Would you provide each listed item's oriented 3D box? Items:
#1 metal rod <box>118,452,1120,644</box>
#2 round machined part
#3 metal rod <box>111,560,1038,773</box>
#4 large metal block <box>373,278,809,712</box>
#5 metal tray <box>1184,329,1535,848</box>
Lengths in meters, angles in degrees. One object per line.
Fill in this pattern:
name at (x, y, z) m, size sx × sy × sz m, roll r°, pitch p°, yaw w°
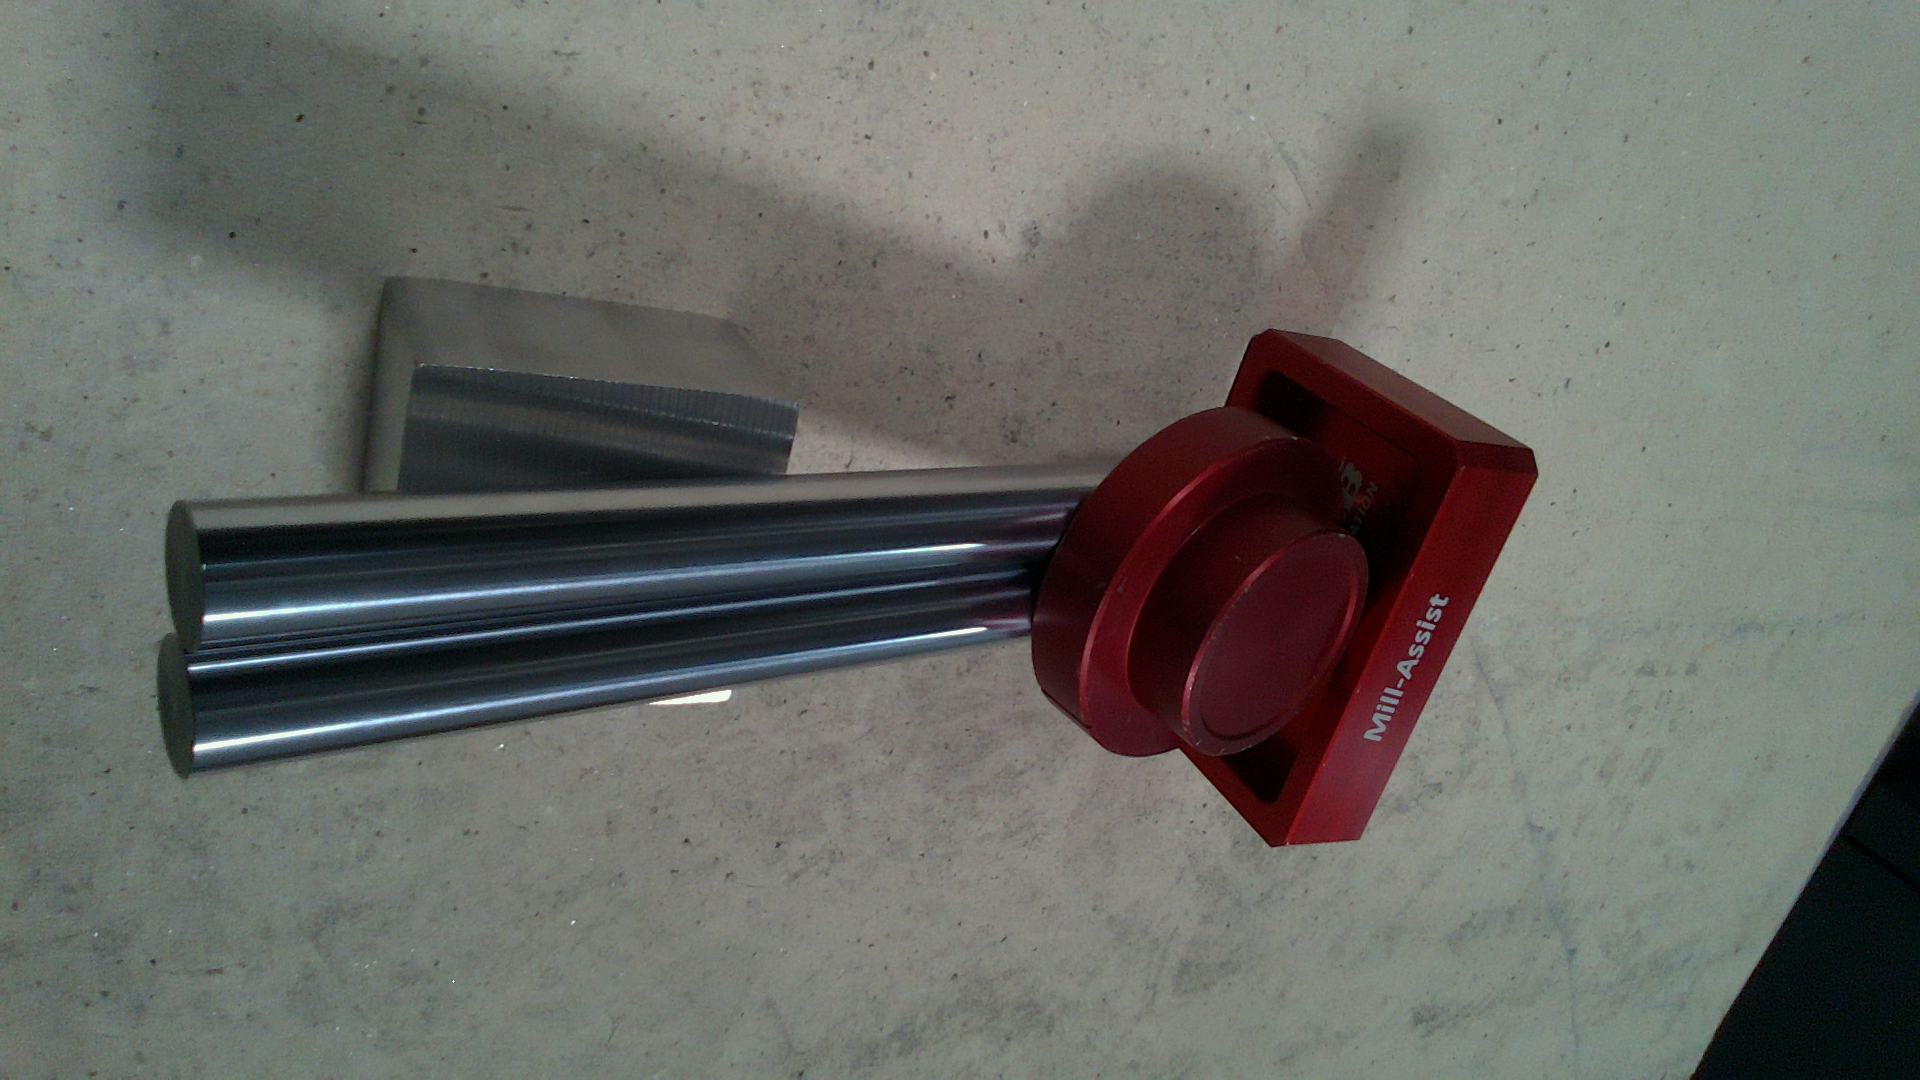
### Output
metal rod at (-0.018, -0.006, 0.318) m, size 0.301 × 0.025 × 0.025 m, roll -5°, pitch 122°, yaw -40°
round machined part at (0.069, 0.018, 0.364) m, size 0.098 × 0.042 × 0.098 m, roll -23°, pitch 133°, yaw -27°
metal rod at (-0.026, 0.017, 0.328) m, size 0.301 × 0.025 × 0.025 m, roll -4°, pitch 121°, yaw -41°
large metal block at (-0.089, -0.008, 0.315) m, size 0.080 × 0.050 × 0.080 m, roll 3°, pitch 117°, yaw -30°
metal tray at (0.103, 0.014, 0.411) m, size 0.030 × 0.090 × 0.130 m, roll 3°, pitch 117°, yaw -30°
